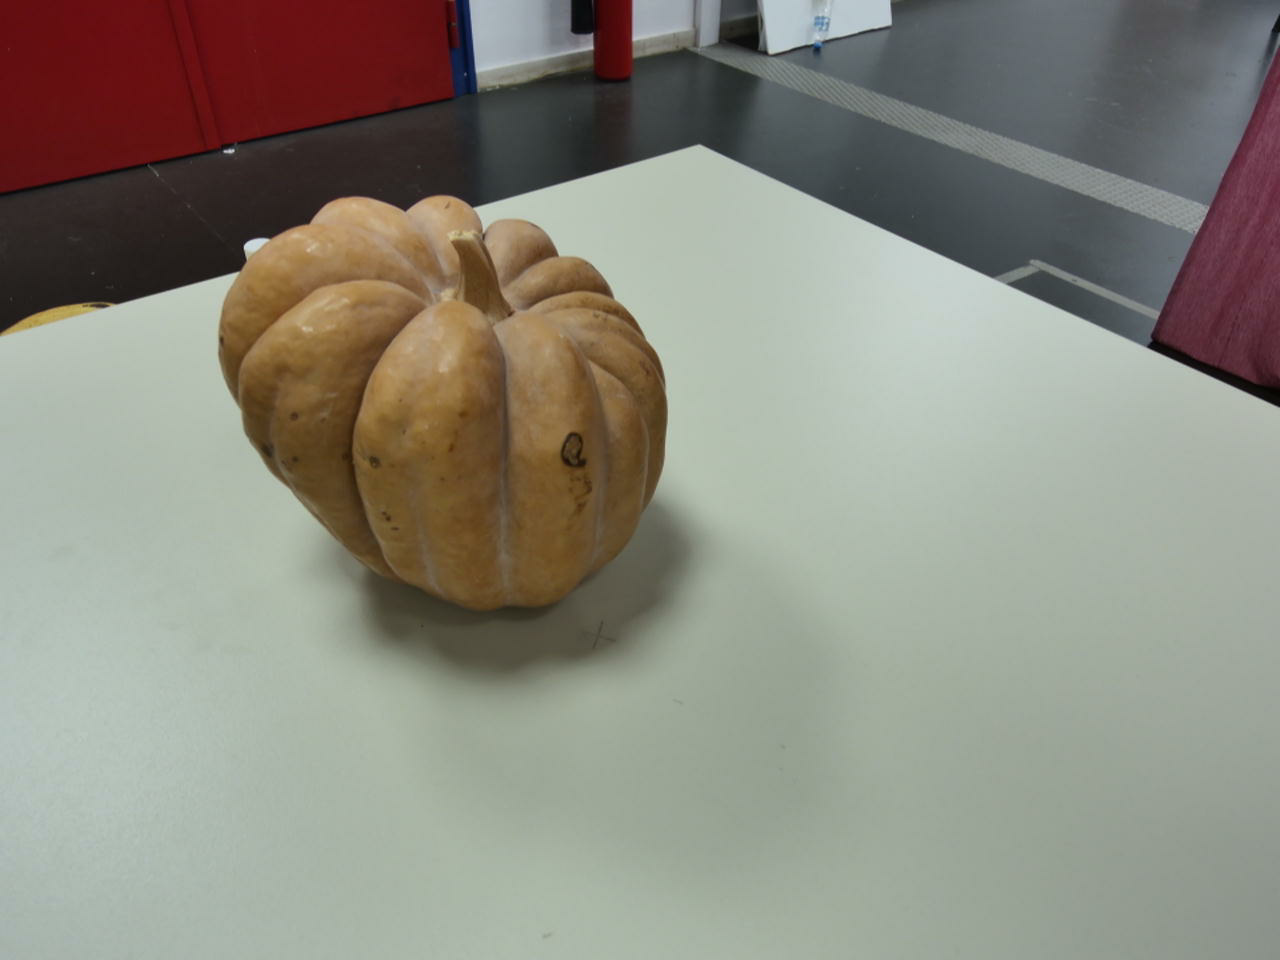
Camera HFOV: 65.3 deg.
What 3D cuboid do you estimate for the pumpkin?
[{"bbox_3d":[-0.083,-0.034,0.456,0.199,0.177,0.198,1,38,0],"label":"pumpkin"}]
